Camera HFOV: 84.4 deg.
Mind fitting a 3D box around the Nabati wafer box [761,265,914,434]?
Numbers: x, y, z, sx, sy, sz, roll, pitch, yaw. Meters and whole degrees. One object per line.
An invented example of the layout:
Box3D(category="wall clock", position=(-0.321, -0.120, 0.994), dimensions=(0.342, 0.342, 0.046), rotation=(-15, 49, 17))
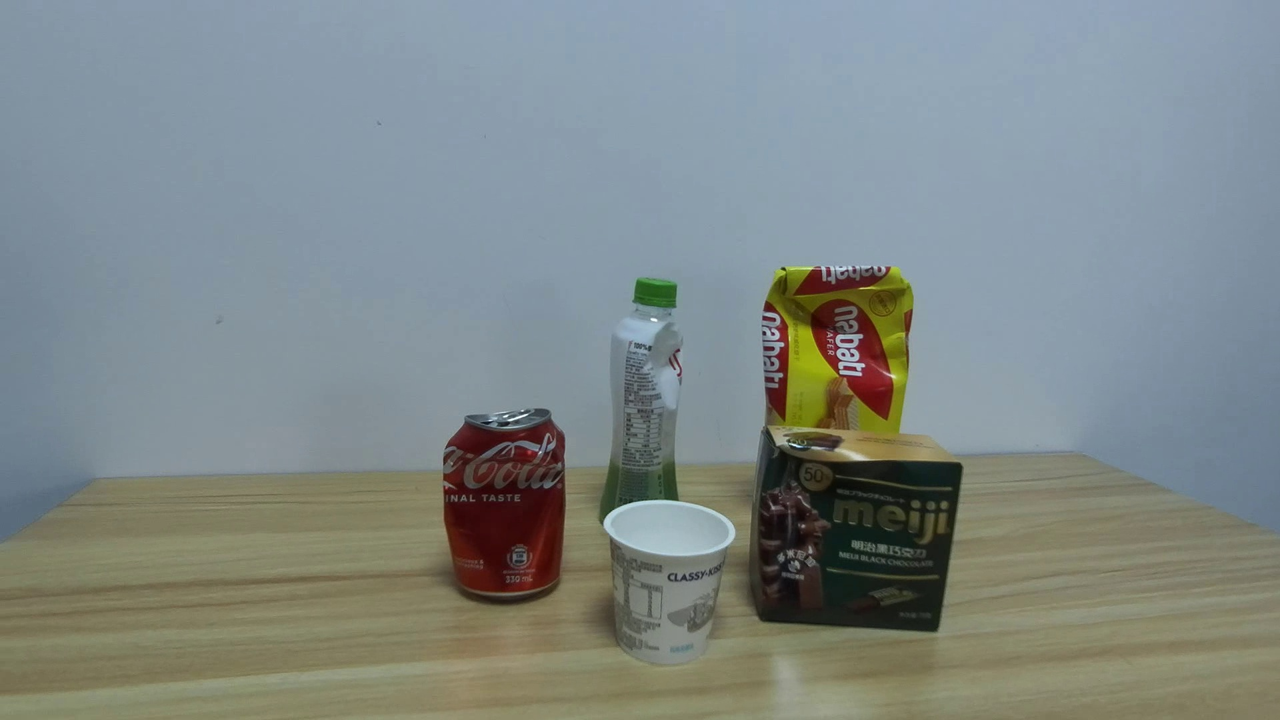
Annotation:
Box3D(category="Nabati wafer box", position=(0.148, 0.031, 0.543), dimensions=(0.113, 0.205, 0.042), rotation=(-1, 12, -11))

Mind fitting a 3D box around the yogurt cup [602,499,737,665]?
Box3D(category="yogurt cup", position=(0.015, 0.123, 0.391), dimensions=(0.072, 0.068, 0.072), rotation=(3, 13, 0))

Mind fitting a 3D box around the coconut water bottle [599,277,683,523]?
Box3D(category="coconut water bottle", position=(0.004, 0.033, 0.534), dimensions=(0.069, 0.186, 0.069), rotation=(4, 8, 0))

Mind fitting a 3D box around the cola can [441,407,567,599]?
Box3D(category="cola can", position=(-0.079, 0.087, 0.441), dimensions=(0.069, 0.112, 0.065), rotation=(5, 11, 8))
